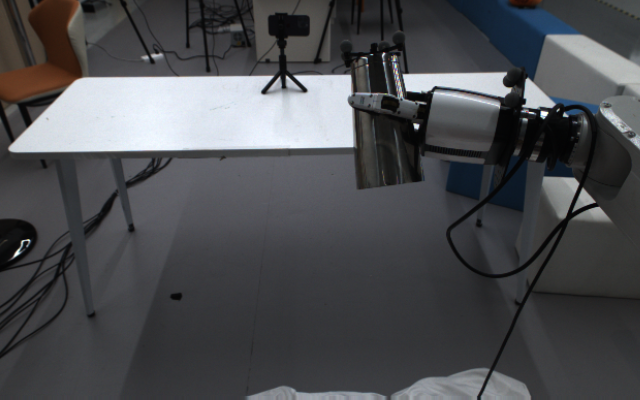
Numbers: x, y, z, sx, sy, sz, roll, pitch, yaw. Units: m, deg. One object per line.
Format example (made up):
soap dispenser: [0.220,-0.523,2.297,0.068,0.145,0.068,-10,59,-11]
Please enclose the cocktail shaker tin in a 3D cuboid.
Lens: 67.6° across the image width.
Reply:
cocktail shaker tin: [0.084,-0.104,0.653,0.093,0.170,0.093,-8,1,0]
